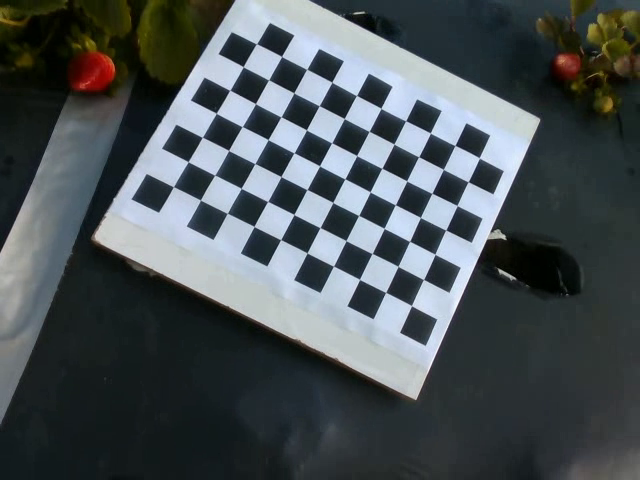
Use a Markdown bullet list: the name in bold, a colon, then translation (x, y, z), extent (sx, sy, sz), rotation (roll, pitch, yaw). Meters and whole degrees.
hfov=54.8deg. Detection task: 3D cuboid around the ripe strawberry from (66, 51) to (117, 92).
- **ripe strawberry**: translation (-0.177, -0.126, 0.471), extent (0.050, 0.055, 0.036), rotation (23, -33, -9)
